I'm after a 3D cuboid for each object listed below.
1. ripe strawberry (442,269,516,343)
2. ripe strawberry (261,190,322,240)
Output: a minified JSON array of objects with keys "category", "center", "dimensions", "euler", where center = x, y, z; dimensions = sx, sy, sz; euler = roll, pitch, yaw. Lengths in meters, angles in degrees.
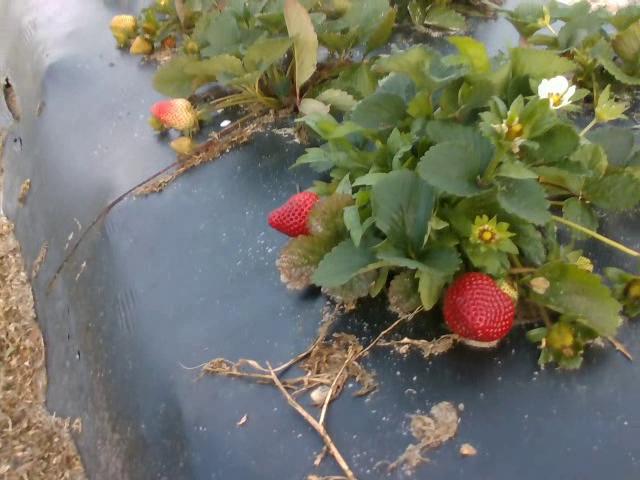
[{"category":"ripe strawberry","center":[0.091,0.041,0.361],"dimensions":[0.043,0.047,0.046],"euler":[-24,14,19]},{"category":"ripe strawberry","center":[-0.017,-0.016,0.468],"dimensions":[0.050,0.043,0.043],"euler":[-15,41,-9]}]
